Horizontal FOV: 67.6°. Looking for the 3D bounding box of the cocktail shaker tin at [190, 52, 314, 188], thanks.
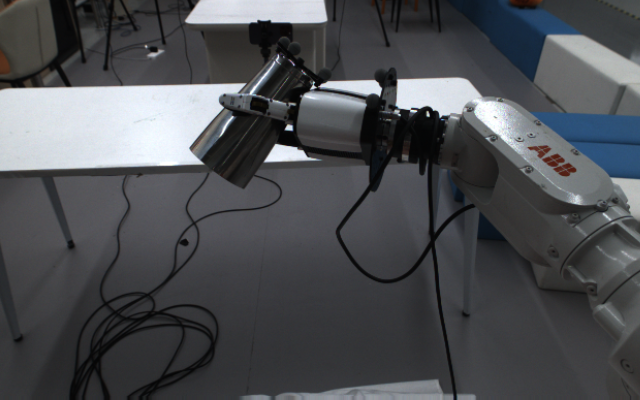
[{"bbox_3d":[-0.086,-0.114,0.654,0.170,0.093,0.093,-50,46,4],"label":"cocktail shaker tin"}]
